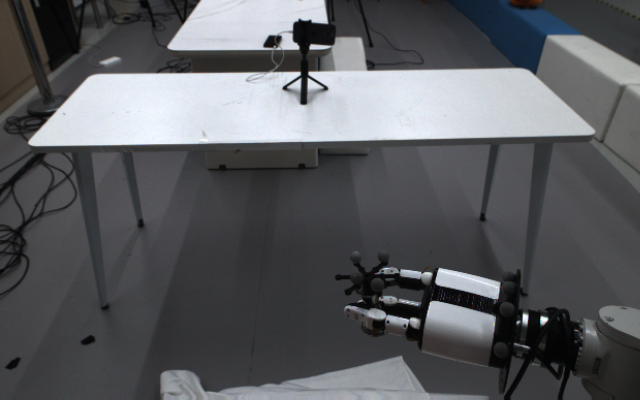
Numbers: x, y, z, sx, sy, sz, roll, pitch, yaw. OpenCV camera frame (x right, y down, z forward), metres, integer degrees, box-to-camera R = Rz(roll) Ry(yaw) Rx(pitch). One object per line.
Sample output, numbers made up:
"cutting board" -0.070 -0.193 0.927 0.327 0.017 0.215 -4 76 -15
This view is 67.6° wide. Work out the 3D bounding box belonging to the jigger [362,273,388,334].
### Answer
"jigger" 0.075 0.147 0.679 0.043 0.071 0.043 -11 23 5
